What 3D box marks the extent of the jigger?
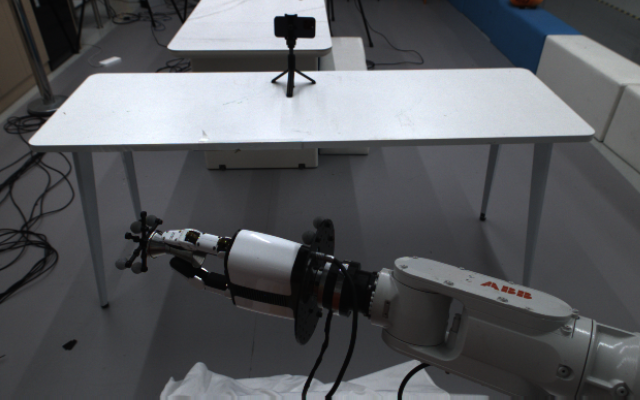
[{"bbox_3d":[-0.188,0.062,0.657,0.071,0.043,0.043,8,35,12],"label":"jigger"}]
